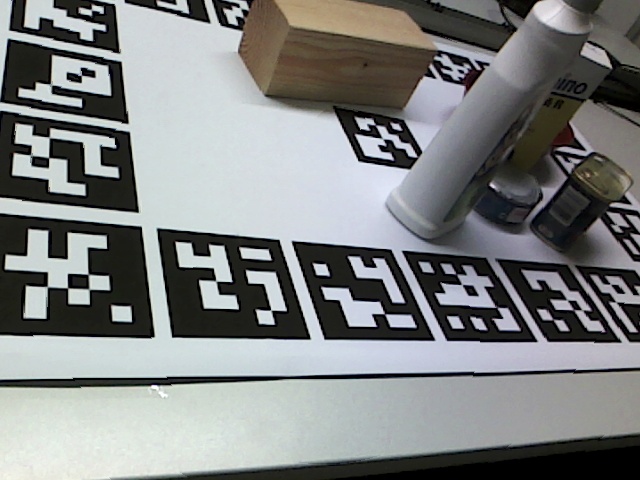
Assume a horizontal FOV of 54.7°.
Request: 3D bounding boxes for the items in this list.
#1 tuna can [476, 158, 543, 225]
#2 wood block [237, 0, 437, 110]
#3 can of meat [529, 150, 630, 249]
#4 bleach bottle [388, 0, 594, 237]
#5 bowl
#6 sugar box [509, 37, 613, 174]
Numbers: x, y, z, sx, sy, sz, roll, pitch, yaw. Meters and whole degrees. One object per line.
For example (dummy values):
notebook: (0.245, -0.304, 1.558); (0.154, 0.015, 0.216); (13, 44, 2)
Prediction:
tuna can: (0.202, -0.058, 0.691); (0.085, 0.034, 0.086); (15, 44, -16)
wood block: (0.021, -0.222, 0.728); (0.205, 0.090, 0.091); (-3, 53, -34)
can of meat: (0.291, -0.046, 0.701); (0.058, 0.084, 0.101); (42, 40, 20)
bleach bottle: (0.159, -0.117, 0.565); (0.102, 0.251, 0.068); (-21, 59, -42)
bowl: (0.258, -0.162, 0.822); (0.161, 0.055, 0.162); (13, 42, -12)
sugar box: (0.232, -0.149, 0.695); (0.092, 0.176, 0.045); (17, 43, -8)
